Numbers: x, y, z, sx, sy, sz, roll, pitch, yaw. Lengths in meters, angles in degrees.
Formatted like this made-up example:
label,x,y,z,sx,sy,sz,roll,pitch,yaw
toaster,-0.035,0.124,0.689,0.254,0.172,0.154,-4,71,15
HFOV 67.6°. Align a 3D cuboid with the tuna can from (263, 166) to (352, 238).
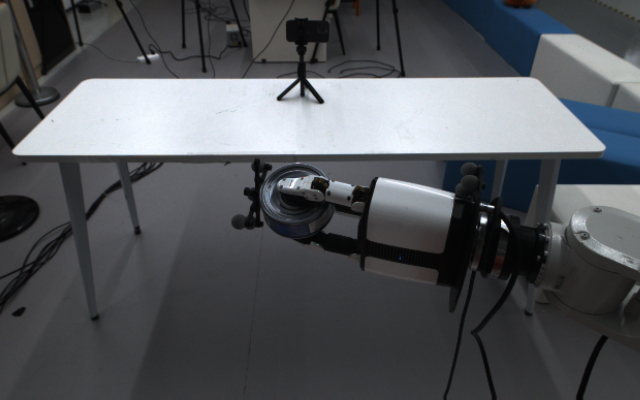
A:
label,x,y,z,sx,sy,sz,roll,pitch,yaw
tuna can,-0.023,0.003,0.558,0.085,0.034,0.085,-2,58,3
